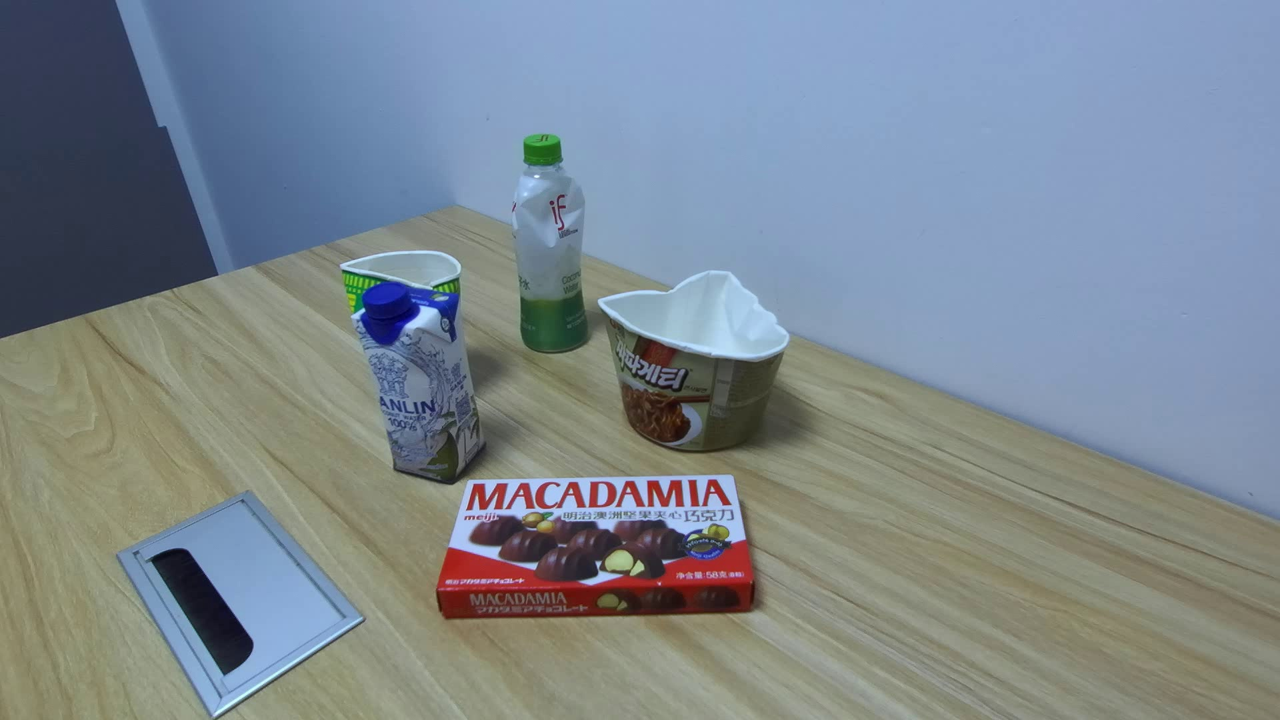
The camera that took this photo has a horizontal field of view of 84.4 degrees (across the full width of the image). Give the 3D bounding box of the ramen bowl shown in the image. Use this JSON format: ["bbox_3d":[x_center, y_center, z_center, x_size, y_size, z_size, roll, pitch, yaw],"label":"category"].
[{"bbox_3d":[0.048,0.004,0.537,0.114,0.097,0.133,-18,35,-25],"label":"ramen bowl"}]

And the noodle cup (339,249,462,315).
[{"bbox_3d":[-0.184,-0.023,0.574,0.075,0.122,0.082,-18,27,-40],"label":"noodle cup"}]

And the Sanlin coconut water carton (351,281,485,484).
[{"bbox_3d":[-0.151,0.011,0.489,0.060,0.144,0.061,9,32,18],"label":"Sanlin coconut water carton"}]

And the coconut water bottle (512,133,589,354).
[{"bbox_3d":[-0.081,-0.100,0.626,0.067,0.187,0.067,0,30,0],"label":"coconut water bottle"}]

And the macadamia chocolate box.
[{"bbox_3d":[-0.025,0.112,0.435,0.178,0.027,0.095,-1,30,0],"label":"macadamia chocolate box"}]
